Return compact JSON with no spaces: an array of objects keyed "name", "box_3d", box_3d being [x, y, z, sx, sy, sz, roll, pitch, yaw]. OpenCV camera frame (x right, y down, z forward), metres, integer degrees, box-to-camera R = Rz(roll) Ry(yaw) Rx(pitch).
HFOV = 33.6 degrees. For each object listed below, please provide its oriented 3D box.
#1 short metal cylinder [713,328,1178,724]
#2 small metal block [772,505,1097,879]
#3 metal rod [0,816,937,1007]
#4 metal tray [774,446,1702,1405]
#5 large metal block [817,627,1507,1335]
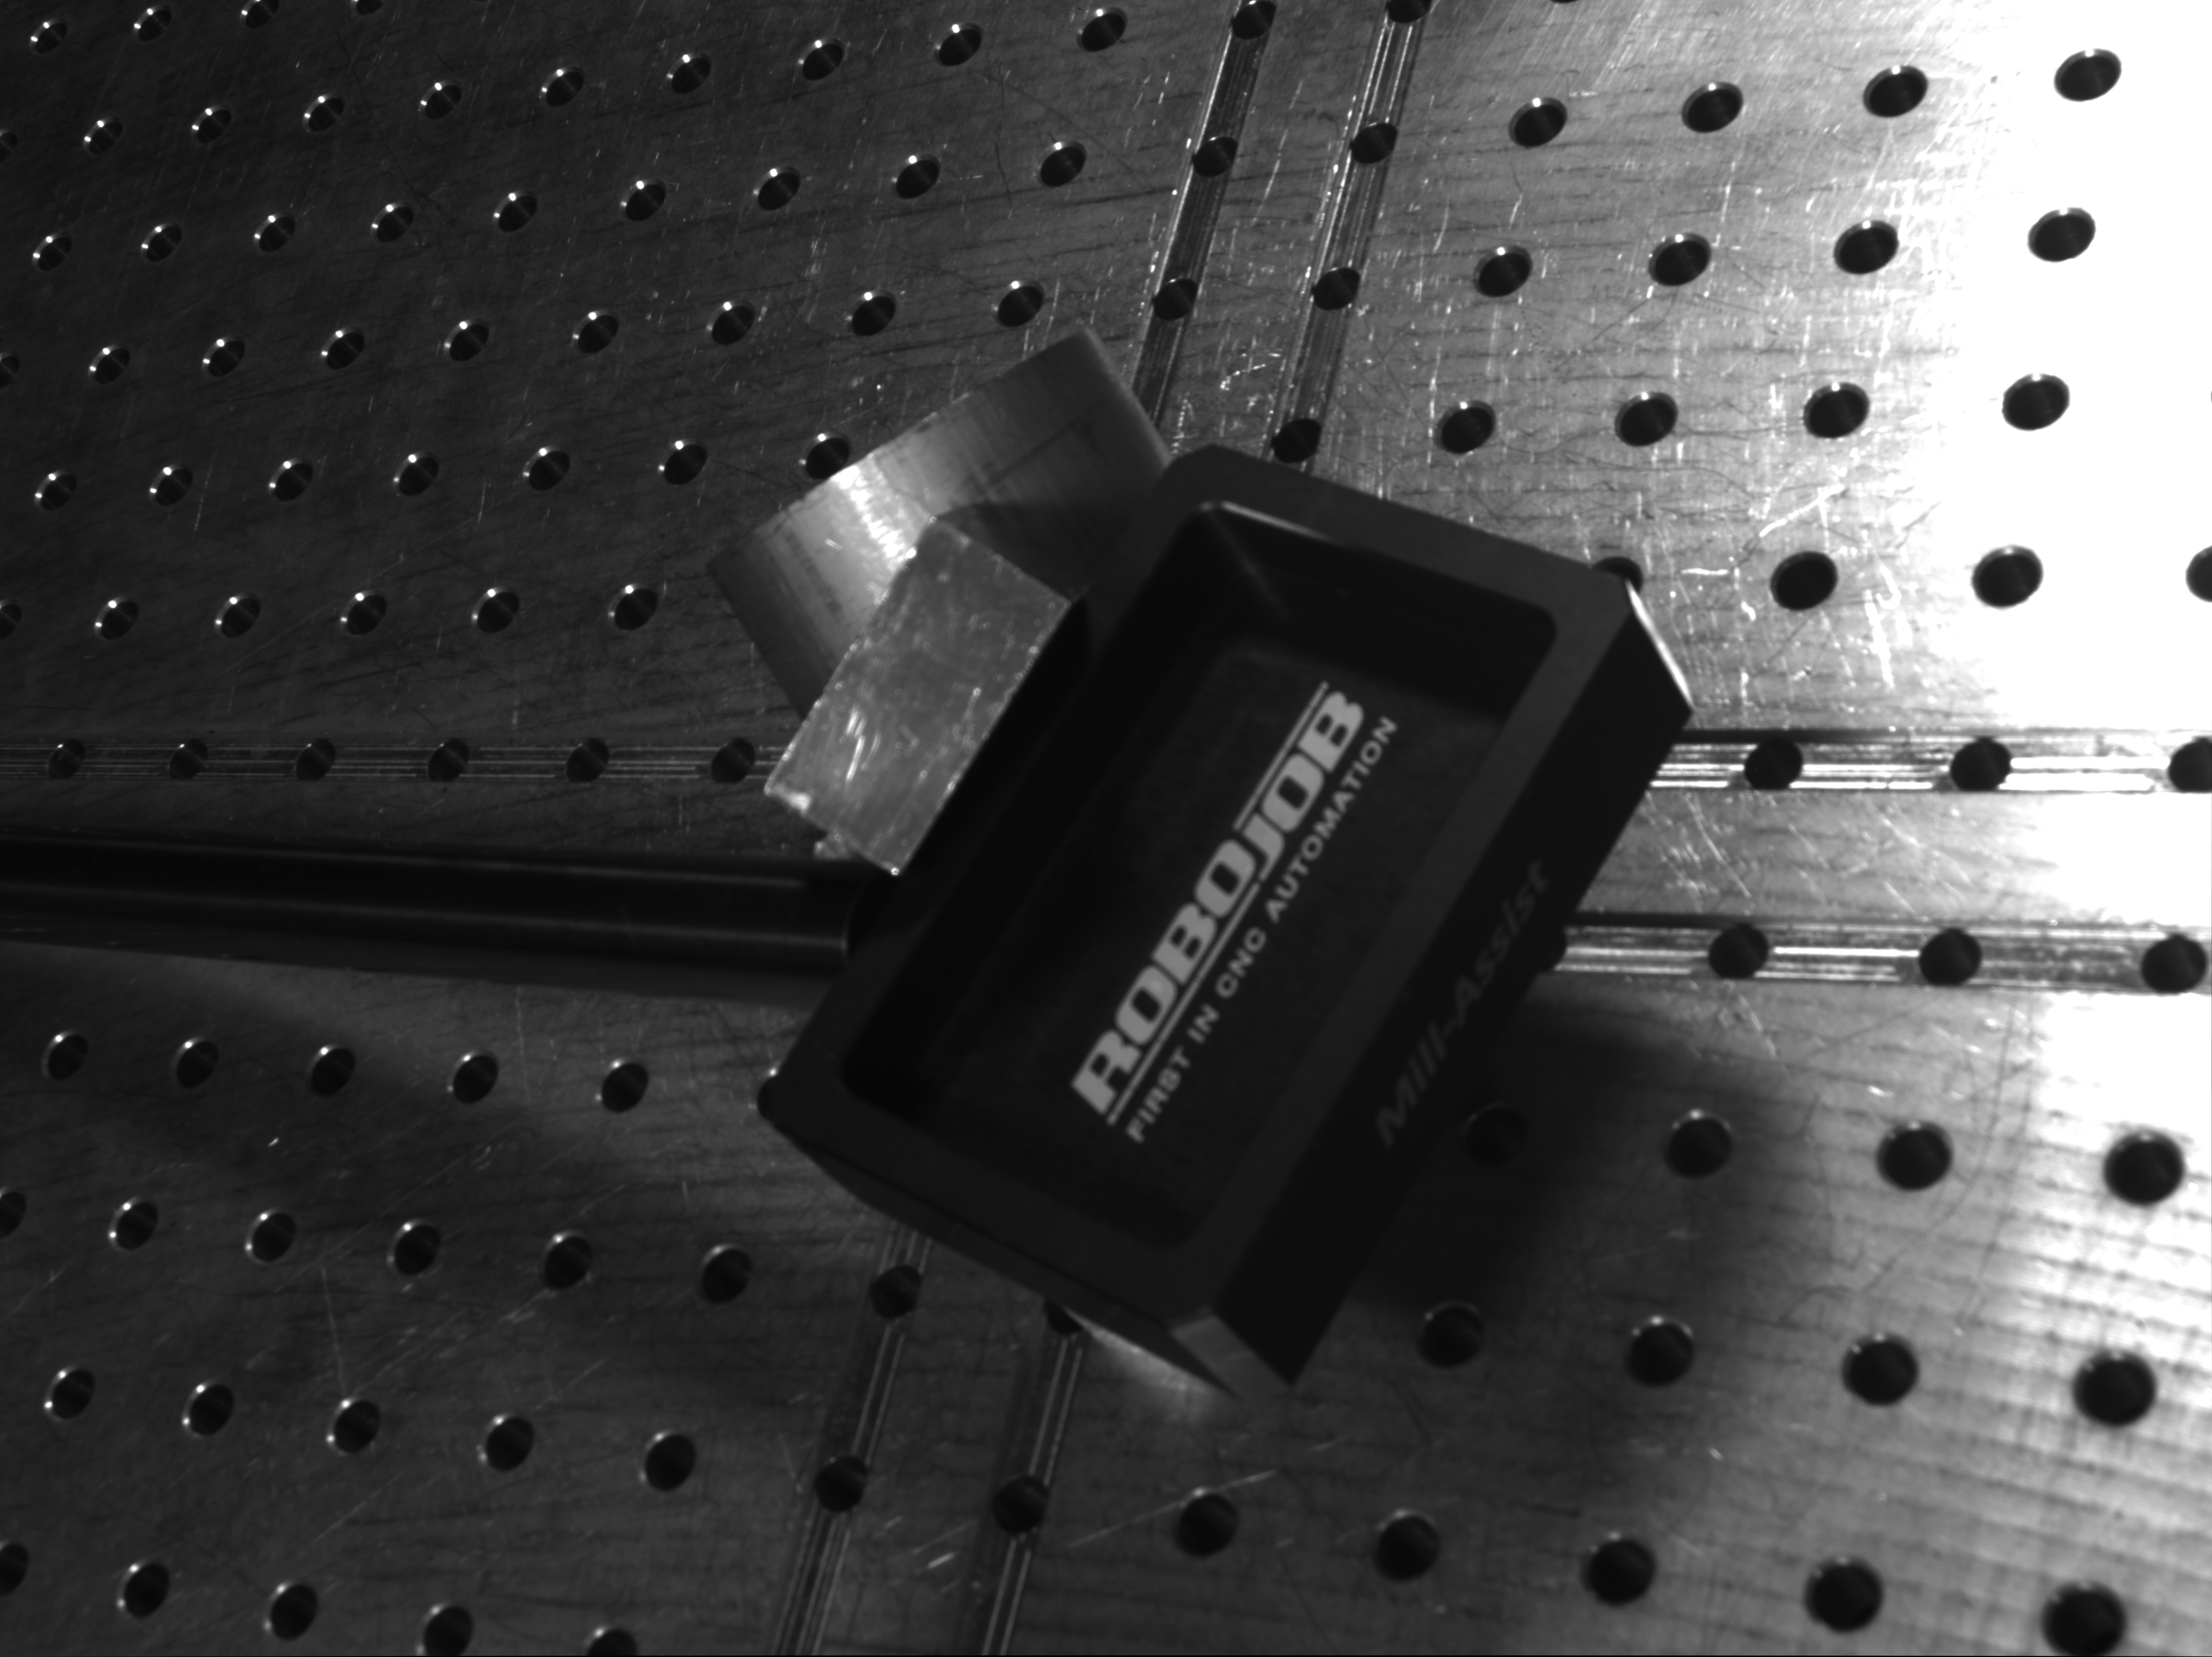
[{"name":"short metal cylinder","box_3d":[-0.022,-0.046,0.644,0.080,0.080,0.050,-31,94,9]},{"name":"small metal block","box_3d":[-0.026,-0.023,0.581,0.025,0.050,0.050,32,98,-1]},{"name":"metal rod","box_3d":[-0.143,0.012,0.679,0.299,0.025,0.025,2,62,42]},{"name":"metal tray","box_3d":[0.020,0.011,0.558,0.090,0.030,0.130,22,73,37]},{"name":"large metal block","box_3d":[0.008,0.024,0.611,0.080,0.050,0.080,-31,51,8]}]
